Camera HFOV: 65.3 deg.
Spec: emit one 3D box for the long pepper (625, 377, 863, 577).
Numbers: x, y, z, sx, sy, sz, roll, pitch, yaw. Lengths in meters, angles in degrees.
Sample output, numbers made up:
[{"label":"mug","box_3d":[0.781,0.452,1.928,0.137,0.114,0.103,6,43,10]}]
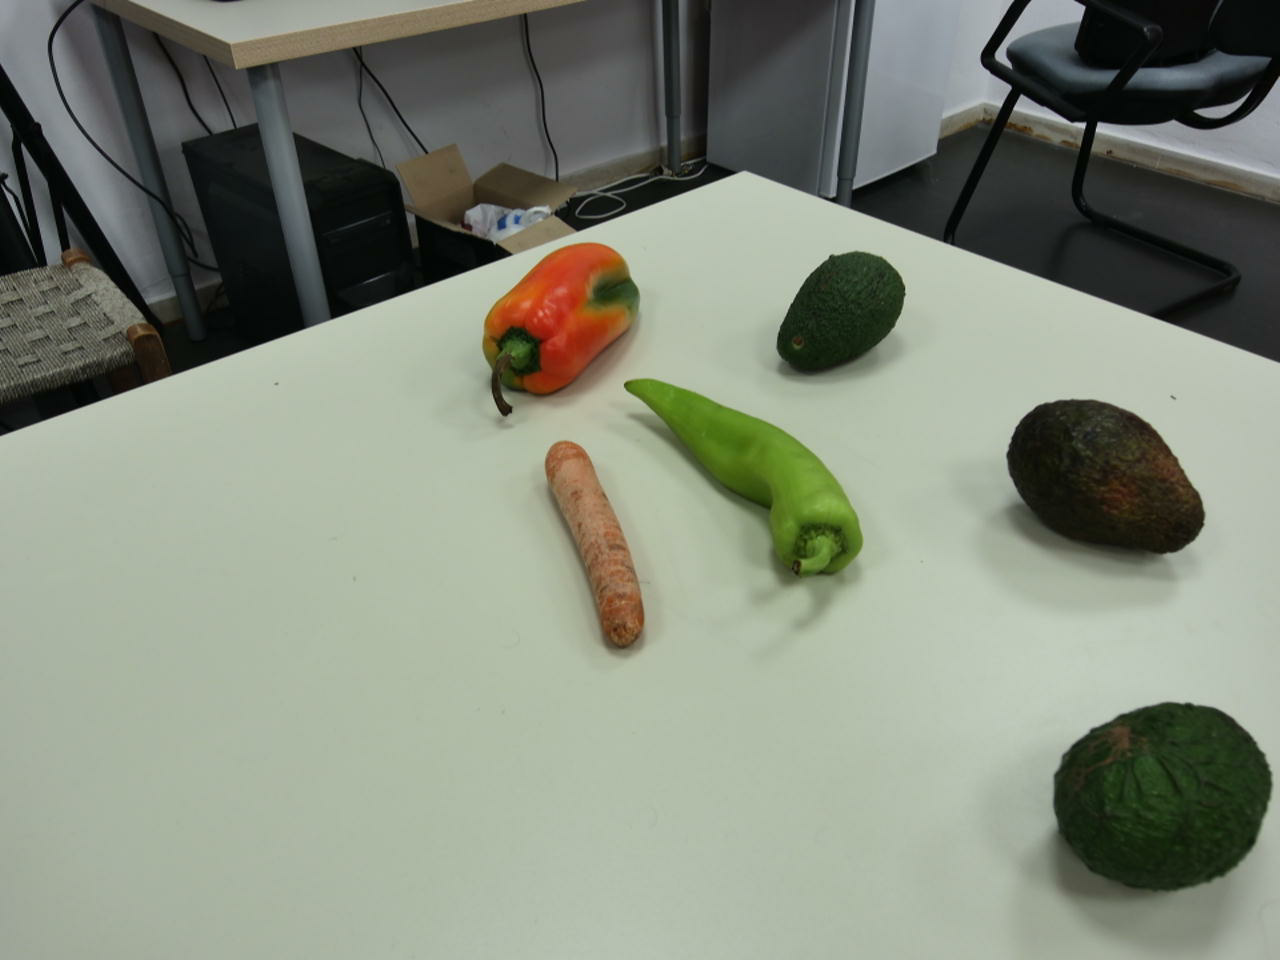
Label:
[{"label":"long pepper","box_3d":[0.060,-0.011,0.554,0.065,0.045,0.204,-15,38,-19]}]
